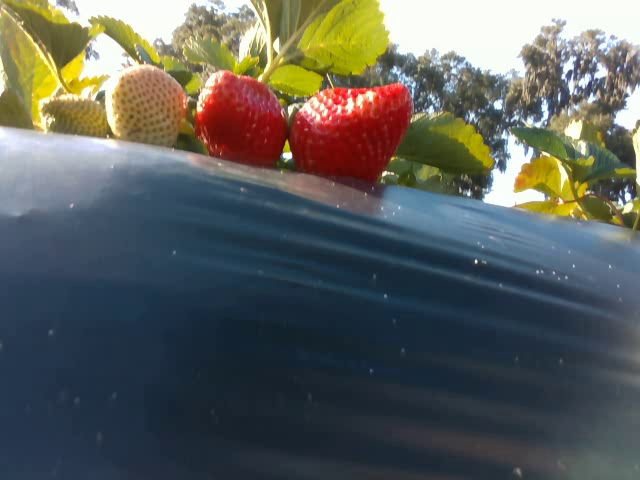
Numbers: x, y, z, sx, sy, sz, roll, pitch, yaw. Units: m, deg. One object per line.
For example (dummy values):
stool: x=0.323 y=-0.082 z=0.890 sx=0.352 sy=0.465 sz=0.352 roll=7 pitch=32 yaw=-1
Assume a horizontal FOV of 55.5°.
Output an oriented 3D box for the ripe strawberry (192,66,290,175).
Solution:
ripe strawberry: x=-0.035 y=-0.054 z=0.254 sx=0.050 sy=0.044 sz=0.061 roll=28 pitch=-7 yaw=11

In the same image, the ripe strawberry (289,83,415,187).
ripe strawberry: x=0.018 y=-0.048 z=0.259 sx=0.056 sy=0.052 sz=0.067 roll=-27 pitch=1 yaw=-43
